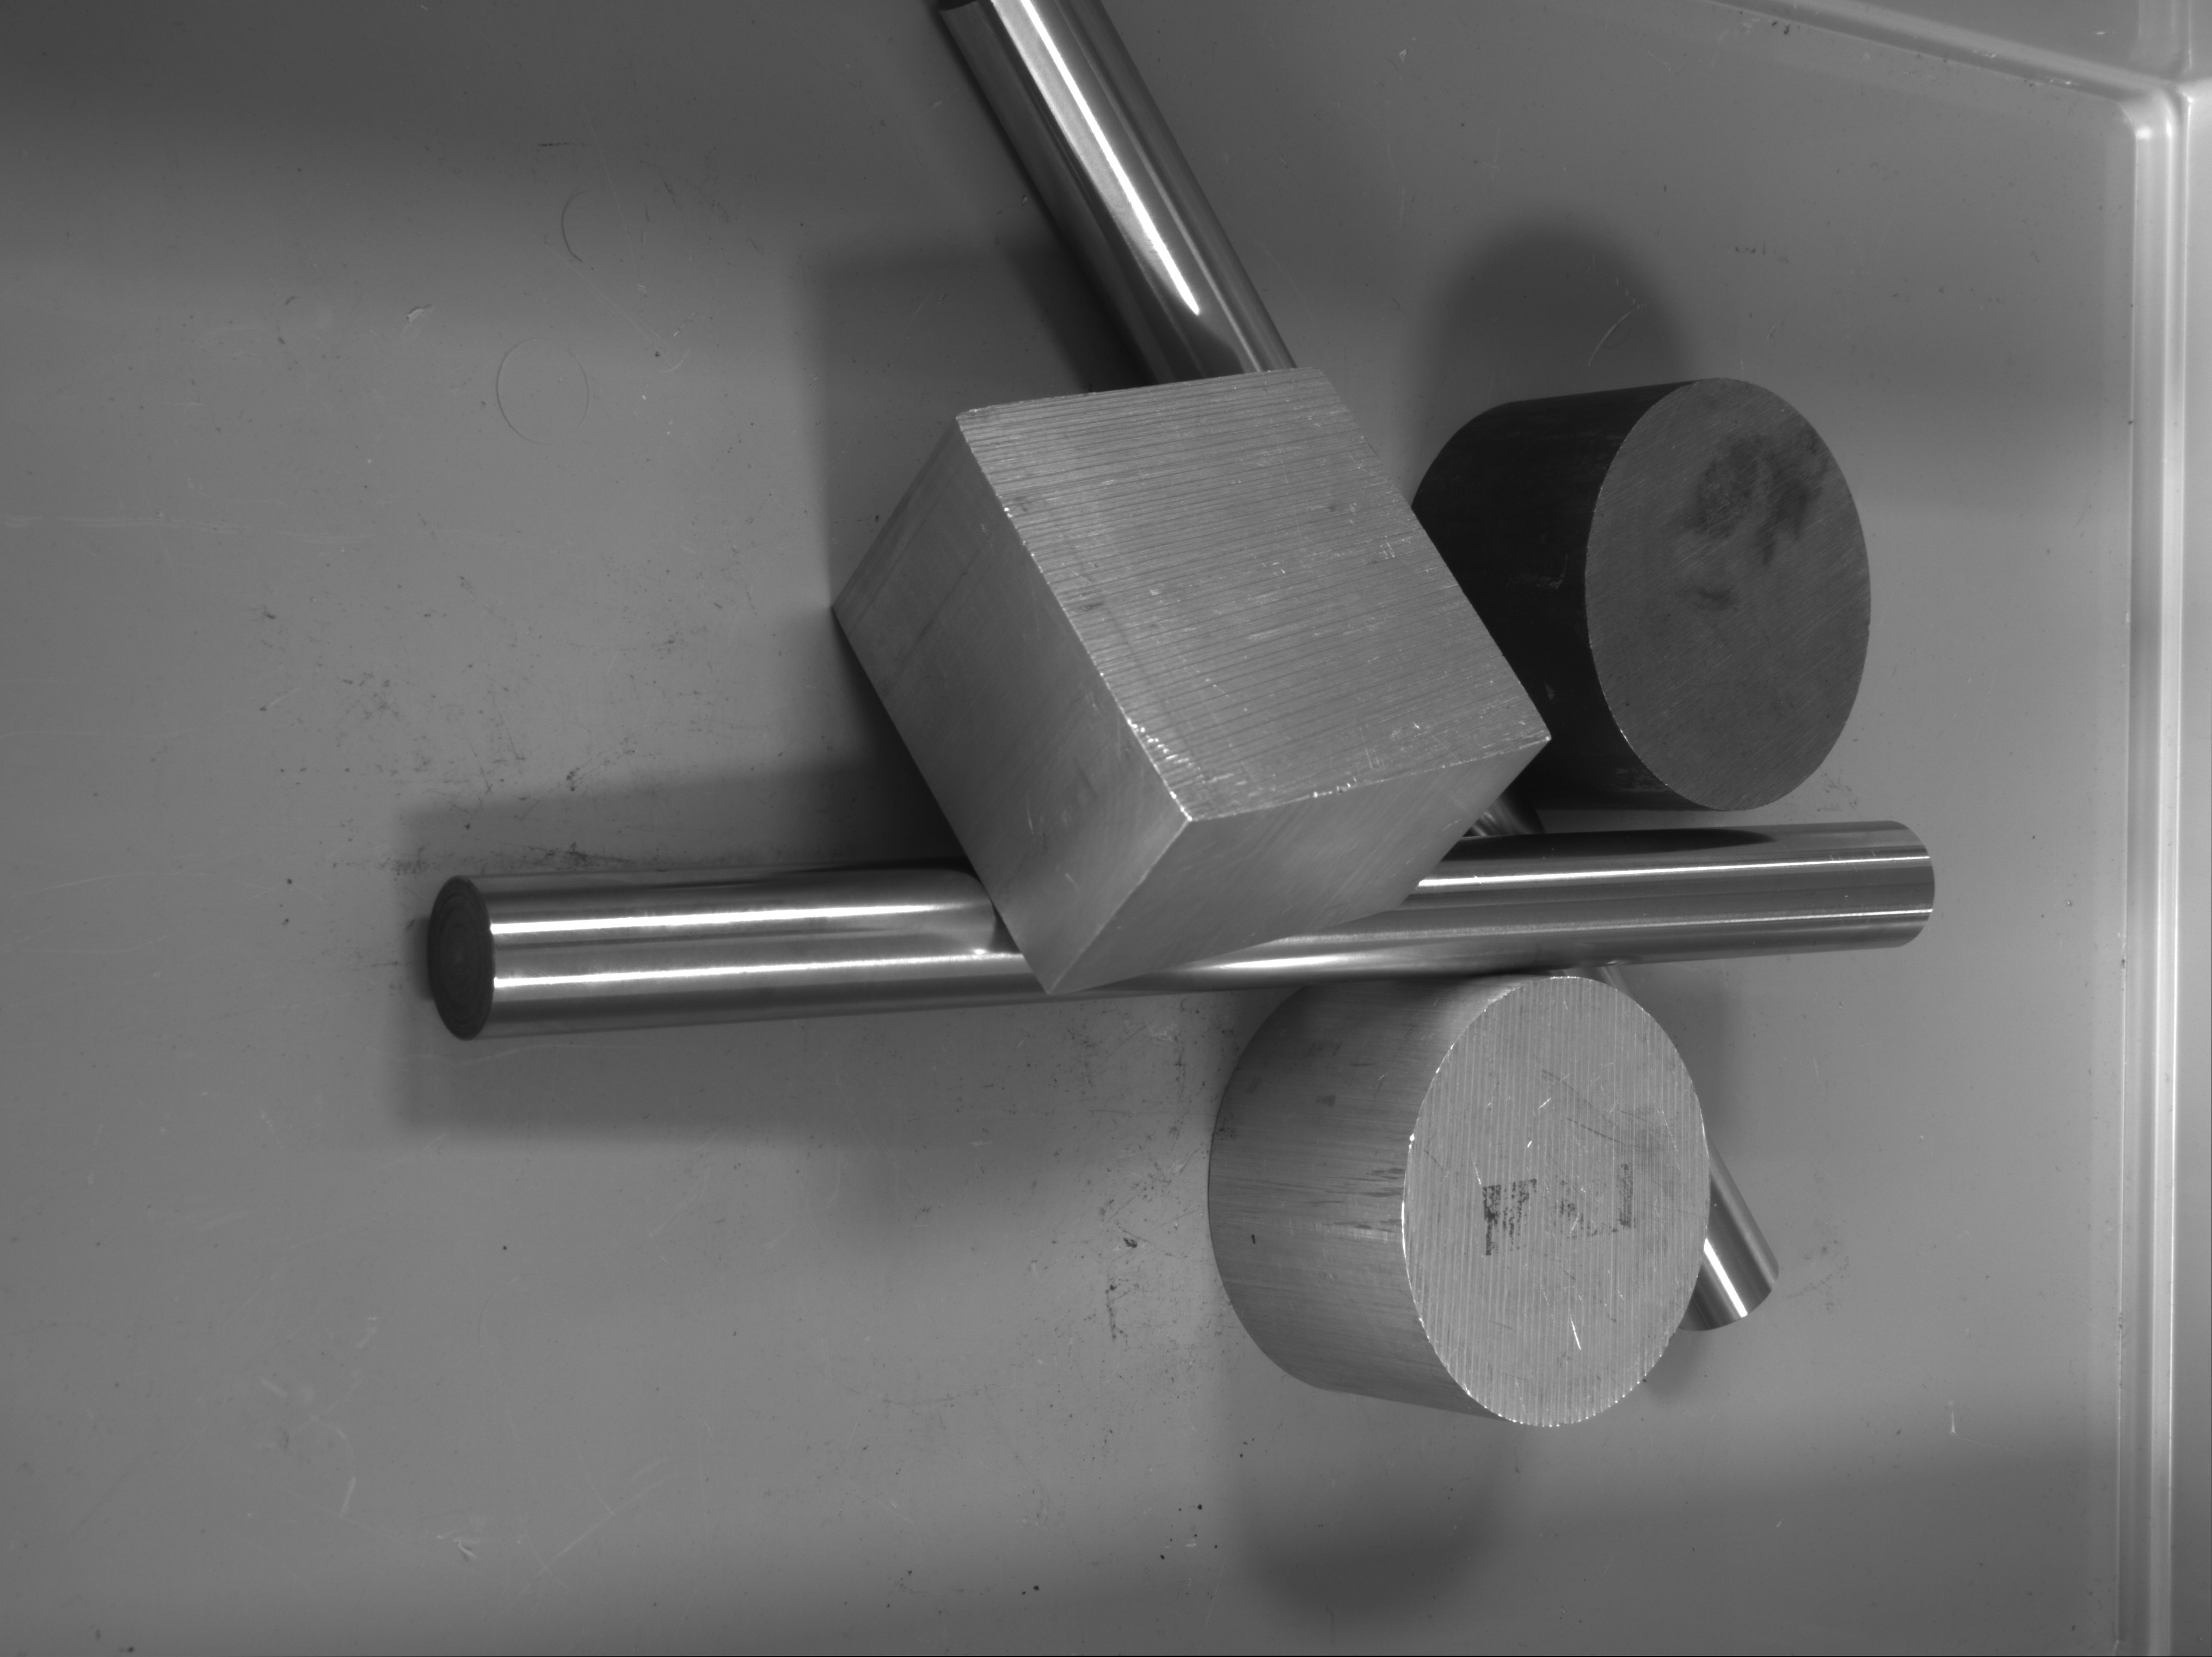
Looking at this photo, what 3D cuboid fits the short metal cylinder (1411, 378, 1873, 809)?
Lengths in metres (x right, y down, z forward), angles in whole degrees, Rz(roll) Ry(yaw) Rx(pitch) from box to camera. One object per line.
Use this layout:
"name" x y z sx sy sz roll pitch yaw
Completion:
"short metal cylinder" 0.101 -0.044 0.703 0.080 0.050 0.080 0 90 -40

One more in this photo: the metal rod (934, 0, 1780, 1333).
"metal rod" 0.053 -0.026 0.679 0.025 0.025 0.300 -45 117 -30

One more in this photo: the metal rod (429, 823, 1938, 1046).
"metal rod" 0.028 0.016 0.637 0.301 0.025 0.025 -2 91 -33

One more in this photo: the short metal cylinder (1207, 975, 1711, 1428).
"short metal cylinder" 0.065 0.066 0.672 0.080 0.050 0.080 0 90 -40

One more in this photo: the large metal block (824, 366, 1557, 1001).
"large metal block" 0.013 -0.026 0.606 0.080 0.050 0.080 -13 63 -39
